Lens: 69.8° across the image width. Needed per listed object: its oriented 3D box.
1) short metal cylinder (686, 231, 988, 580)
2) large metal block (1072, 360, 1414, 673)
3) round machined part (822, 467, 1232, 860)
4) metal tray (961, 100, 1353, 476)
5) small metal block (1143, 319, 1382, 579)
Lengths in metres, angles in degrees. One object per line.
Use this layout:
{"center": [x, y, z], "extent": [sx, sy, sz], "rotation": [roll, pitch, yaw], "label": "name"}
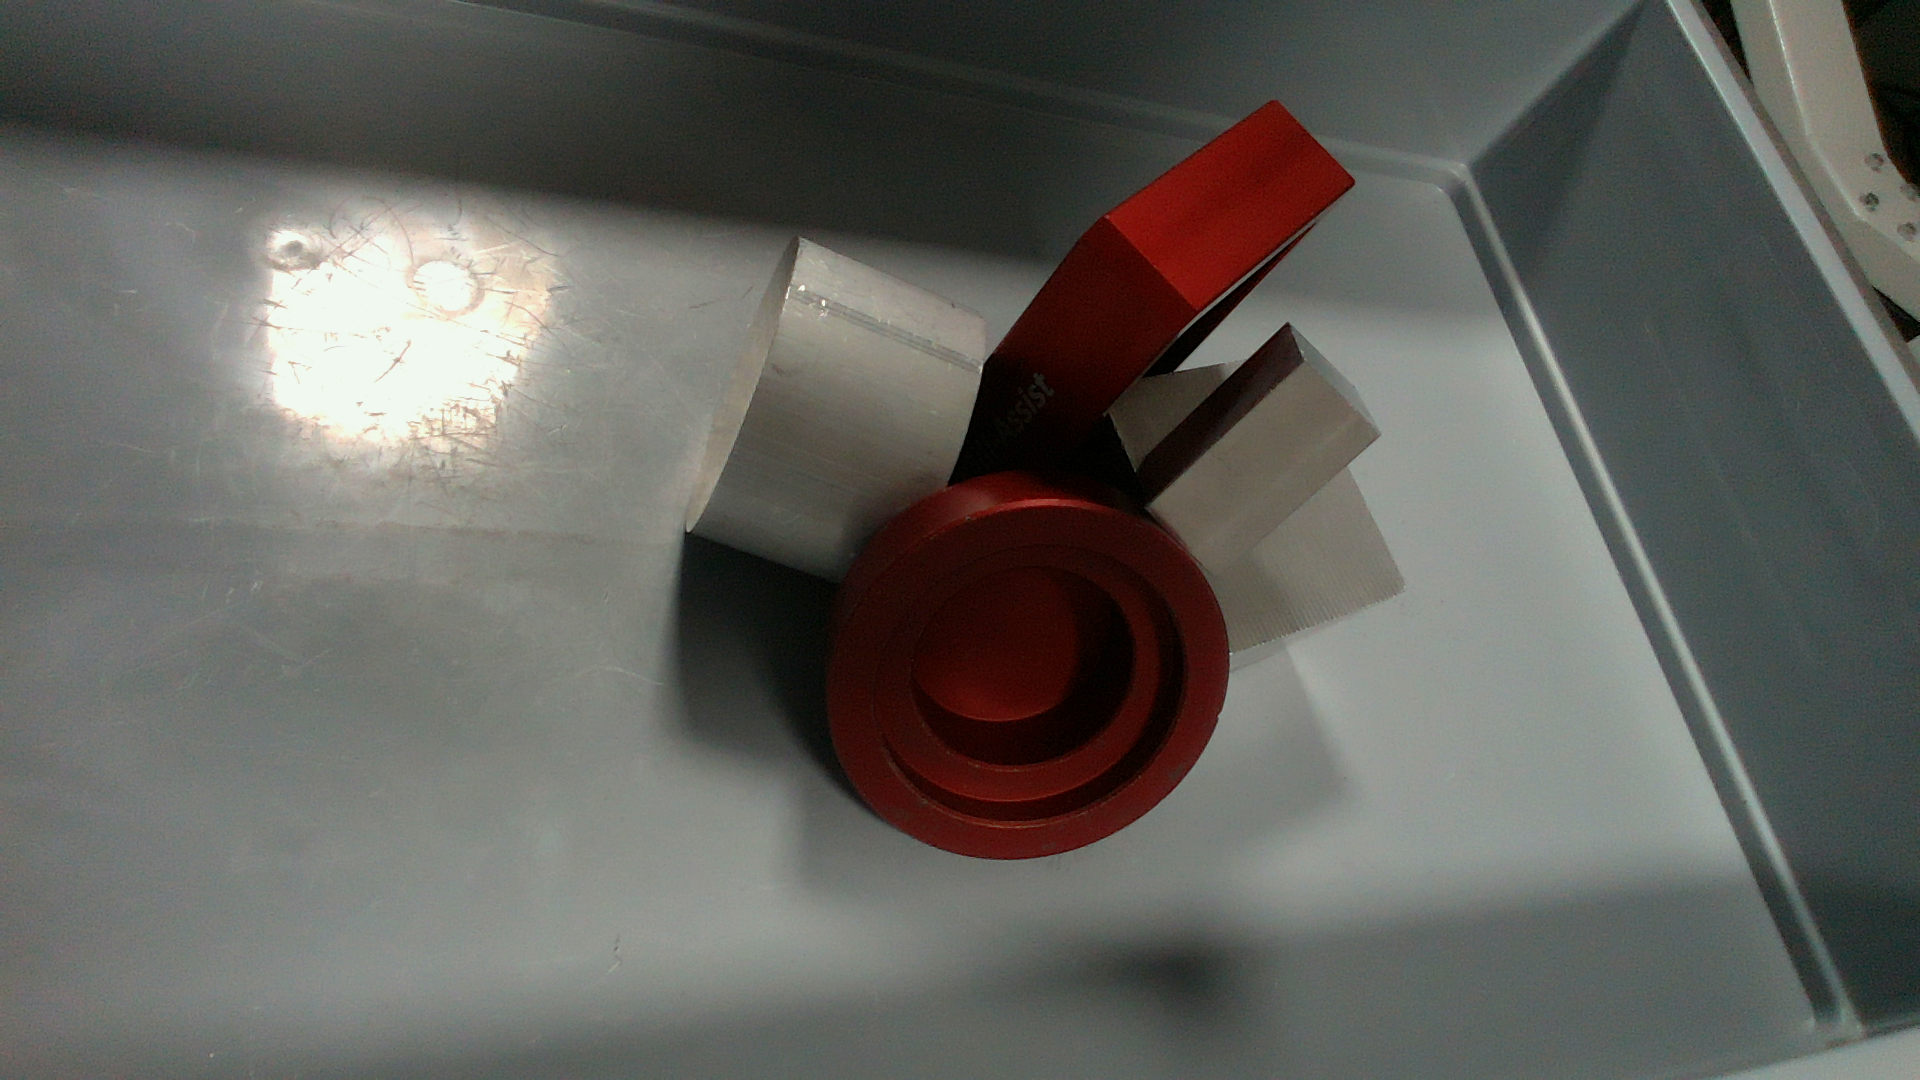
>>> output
{"center": [-0.033, -0.032, 0.355], "extent": [0.050, 0.080, 0.080], "rotation": [20, 54, -16], "label": "short metal cylinder"}
{"center": [0.072, -0.003, 0.403], "extent": [0.080, 0.050, 0.080], "rotation": [-15, 74, -34], "label": "large metal block"}
{"center": [0.014, 0.027, 0.344], "extent": [0.098, 0.098, 0.042], "rotation": [19, 19, -17], "label": "round machined part"}
{"center": [0.038, -0.051, 0.372], "extent": [0.030, 0.130, 0.090], "rotation": [47, 51, 3], "label": "metal tray"}
{"center": [0.072, -0.024, 0.338], "extent": [0.025, 0.050, 0.050], "rotation": [43, 19, -7], "label": "small metal block"}
